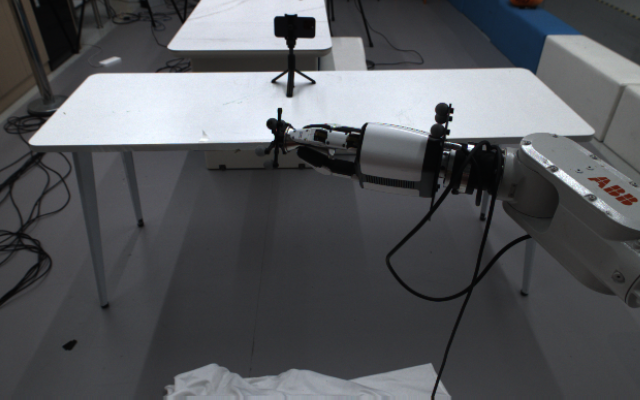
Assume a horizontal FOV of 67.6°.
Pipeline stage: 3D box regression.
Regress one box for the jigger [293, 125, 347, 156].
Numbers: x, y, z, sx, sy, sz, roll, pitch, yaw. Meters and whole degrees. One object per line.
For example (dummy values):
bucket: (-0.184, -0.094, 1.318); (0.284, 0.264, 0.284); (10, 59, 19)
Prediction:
jigger: (-0.008, -0.089, 0.698); (0.071, 0.043, 0.043); (8, 35, 16)
